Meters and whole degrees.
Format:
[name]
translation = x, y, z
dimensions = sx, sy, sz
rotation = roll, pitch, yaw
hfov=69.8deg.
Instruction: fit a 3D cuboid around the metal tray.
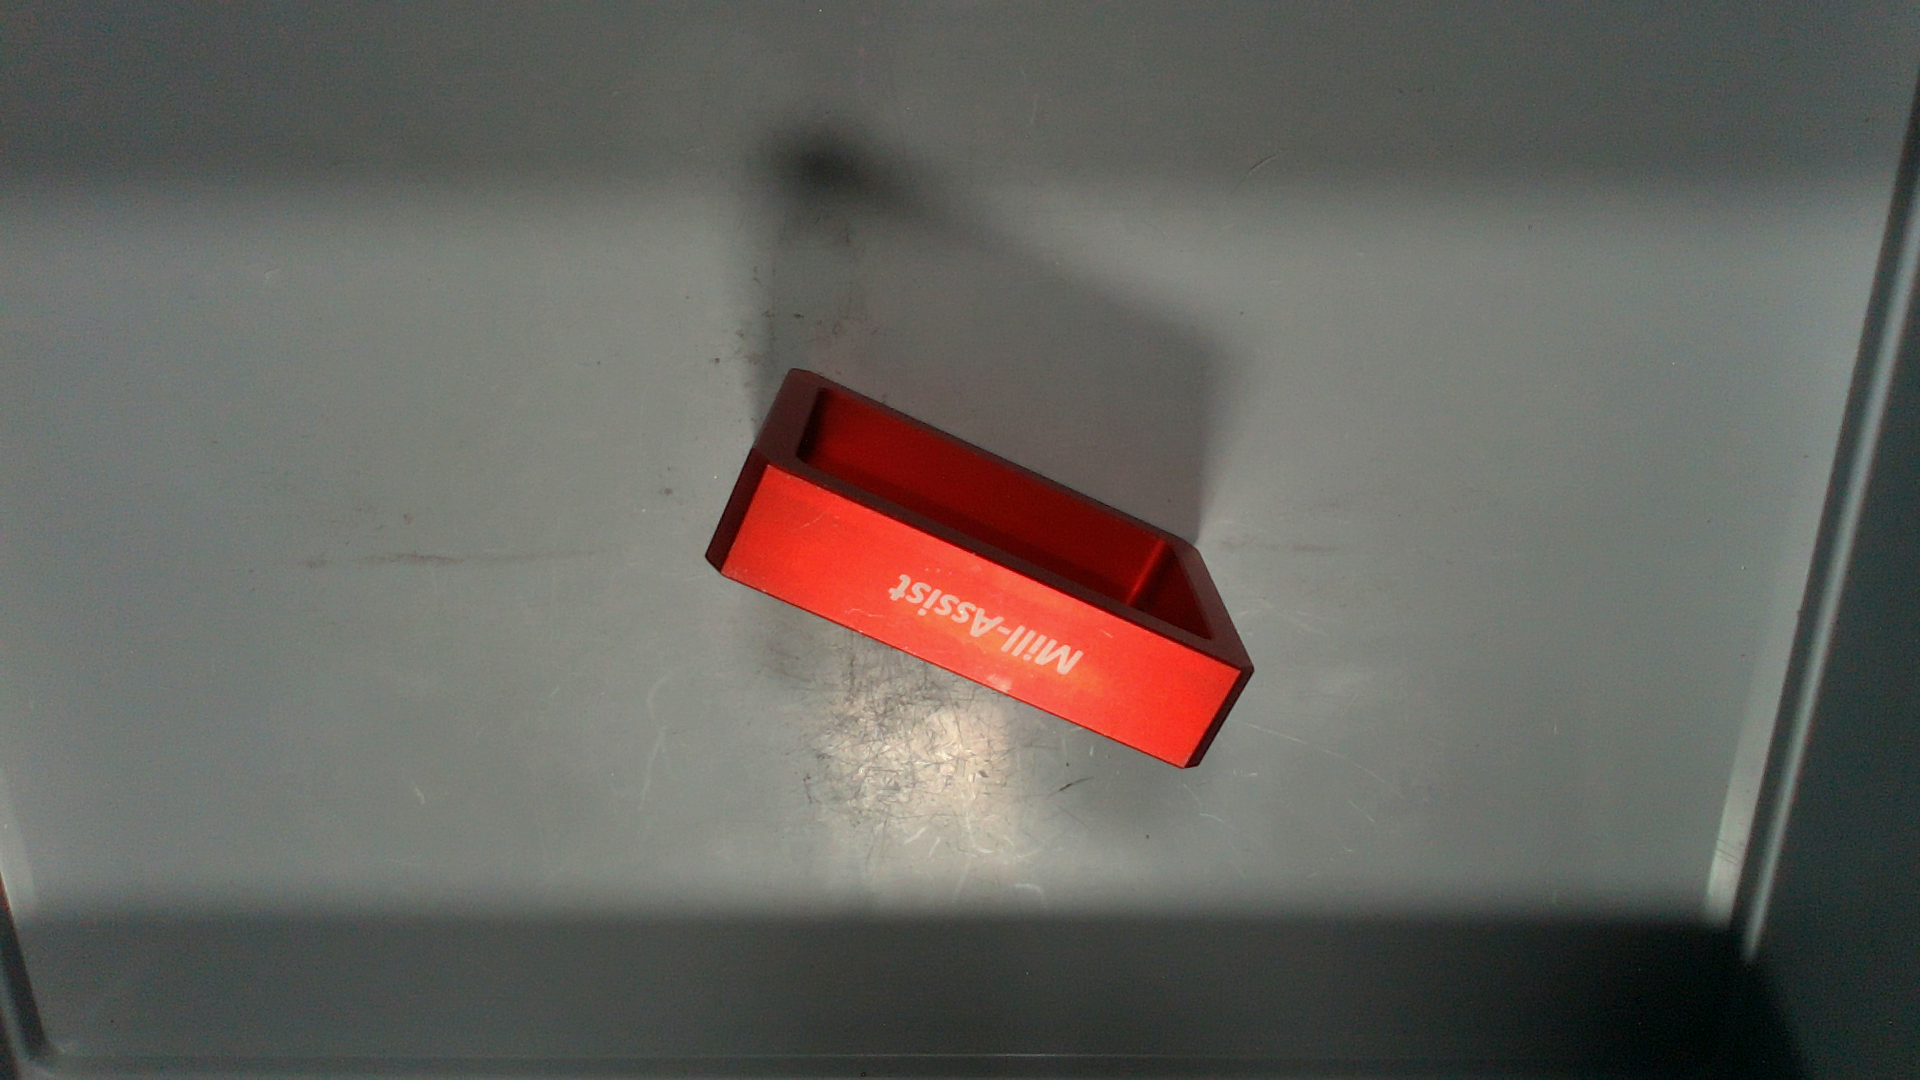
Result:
[metal tray]
translation = 0.006, 0.005, 0.358
dimensions = 0.130, 0.090, 0.030
rotation = 24, 109, -9
